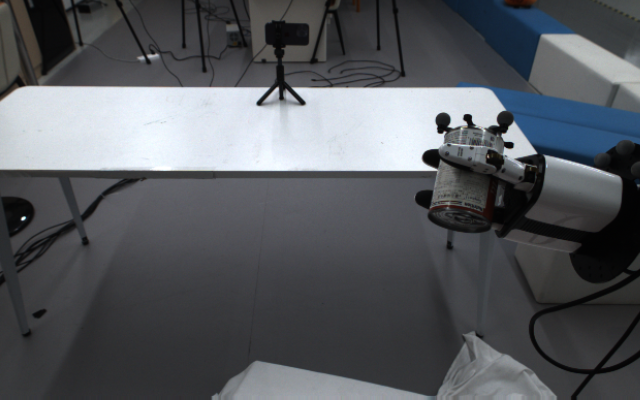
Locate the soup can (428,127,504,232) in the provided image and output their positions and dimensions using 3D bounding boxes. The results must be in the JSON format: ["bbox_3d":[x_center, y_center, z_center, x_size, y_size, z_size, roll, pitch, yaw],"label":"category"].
[{"bbox_3d":[0.165,-0.023,0.539,0.067,0.067,0.101,11,72,13],"label":"soup can"}]
